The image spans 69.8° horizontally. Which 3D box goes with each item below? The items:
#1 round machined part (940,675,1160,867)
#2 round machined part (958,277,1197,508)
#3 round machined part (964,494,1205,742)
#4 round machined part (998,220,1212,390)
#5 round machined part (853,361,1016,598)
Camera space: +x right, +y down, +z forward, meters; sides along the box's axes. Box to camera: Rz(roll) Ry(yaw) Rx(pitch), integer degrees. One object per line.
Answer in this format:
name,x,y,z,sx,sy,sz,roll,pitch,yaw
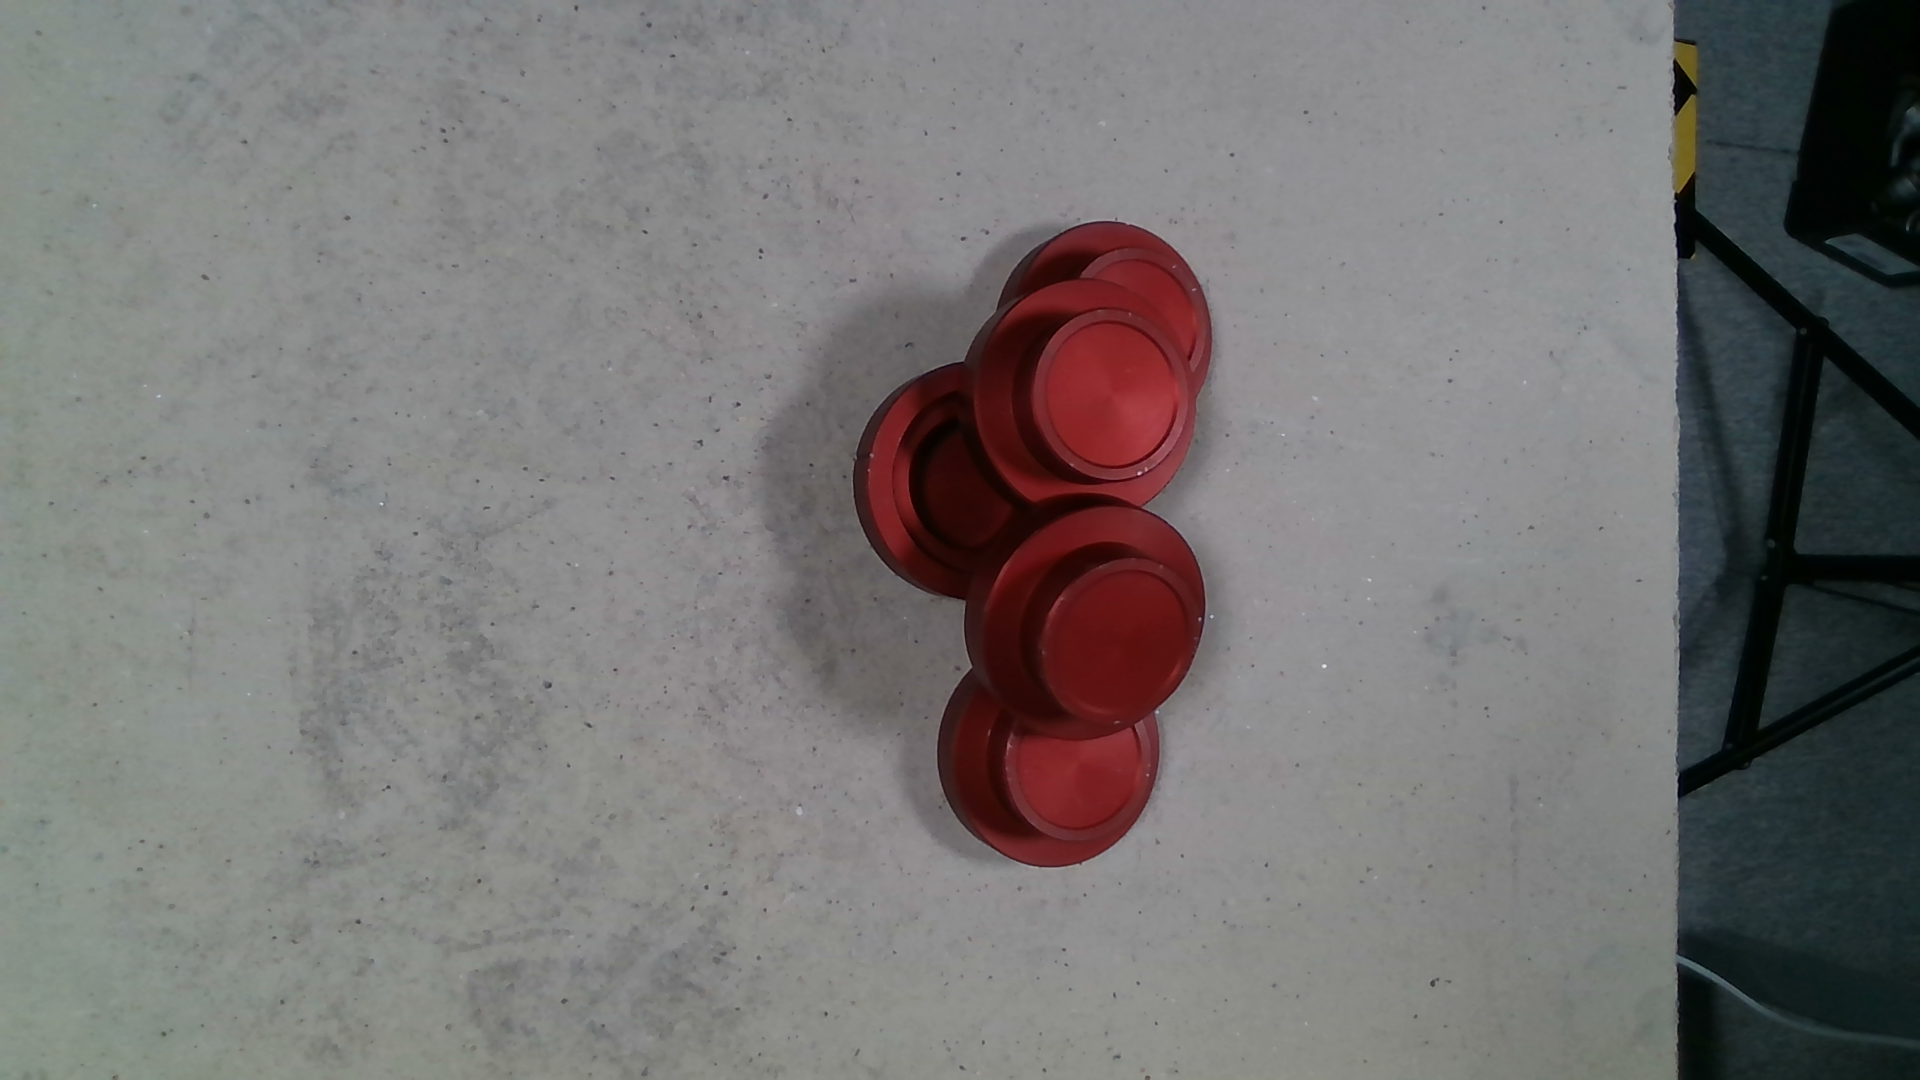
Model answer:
round machined part,0.043,0.092,0.593,0.098,0.042,0.098,0,90,-20
round machined part,0.052,-0.056,0.551,0.098,0.042,0.098,0,90,-20
round machined part,0.054,0.034,0.541,0.098,0.042,0.098,-5,105,-21
round machined part,0.068,-0.091,0.601,0.098,0.042,0.098,0,90,-20
round machined part,0.002,-0.025,0.577,0.098,0.042,0.098,0,90,-20
